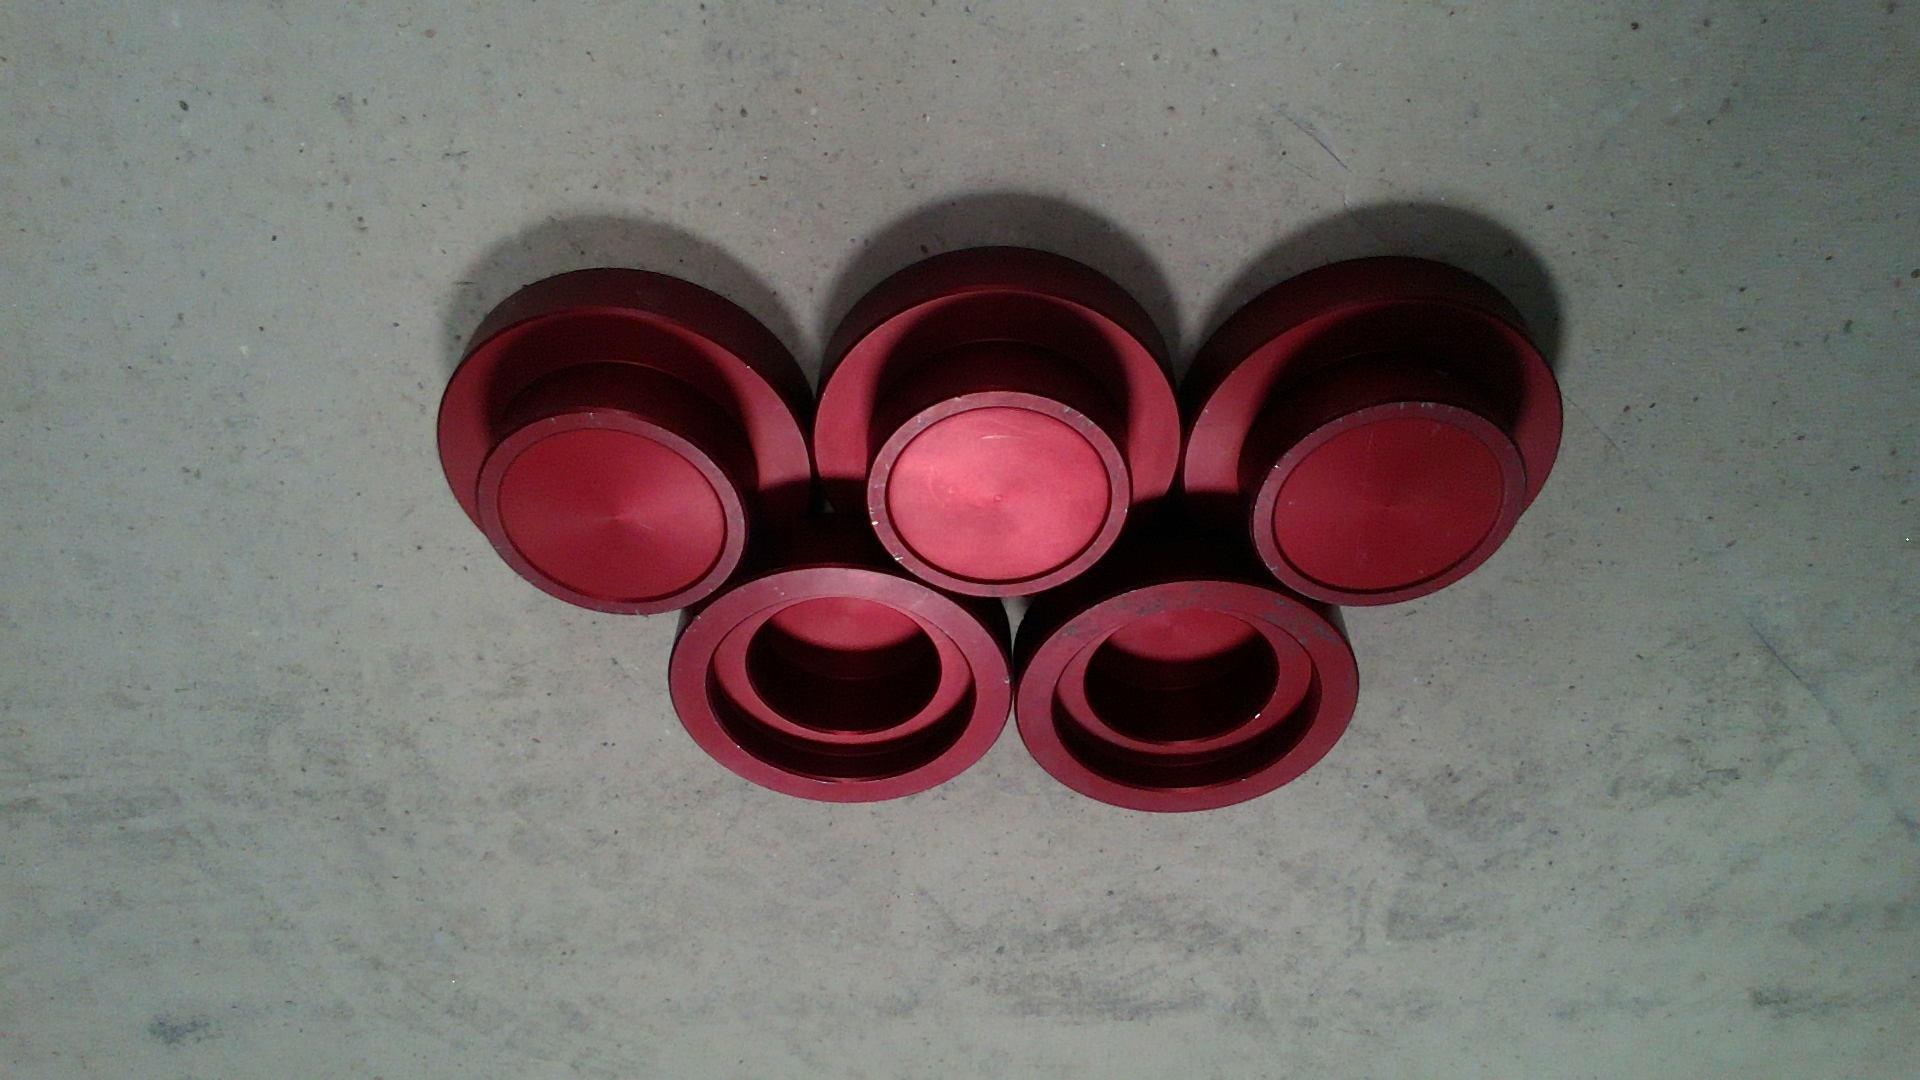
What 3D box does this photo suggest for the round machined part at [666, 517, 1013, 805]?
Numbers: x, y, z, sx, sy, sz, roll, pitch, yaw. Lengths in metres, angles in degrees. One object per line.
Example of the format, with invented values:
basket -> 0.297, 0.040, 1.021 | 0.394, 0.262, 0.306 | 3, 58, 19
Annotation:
round machined part -> -0.034, 0.031, 0.405 | 0.098, 0.042, 0.098 | 0, 130, 0

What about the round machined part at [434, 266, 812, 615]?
round machined part -> -0.089, -0.019, 0.363 | 0.098, 0.042, 0.098 | 0, 130, 0

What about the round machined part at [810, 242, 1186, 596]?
round machined part -> 0.010, -0.024, 0.359 | 0.098, 0.042, 0.098 | 0, 130, 0

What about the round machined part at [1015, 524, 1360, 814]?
round machined part -> 0.065, 0.034, 0.409 | 0.098, 0.042, 0.098 | 0, 130, 0

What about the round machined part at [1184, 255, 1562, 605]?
round machined part -> 0.108, -0.021, 0.362 | 0.098, 0.042, 0.098 | 0, 130, 0
